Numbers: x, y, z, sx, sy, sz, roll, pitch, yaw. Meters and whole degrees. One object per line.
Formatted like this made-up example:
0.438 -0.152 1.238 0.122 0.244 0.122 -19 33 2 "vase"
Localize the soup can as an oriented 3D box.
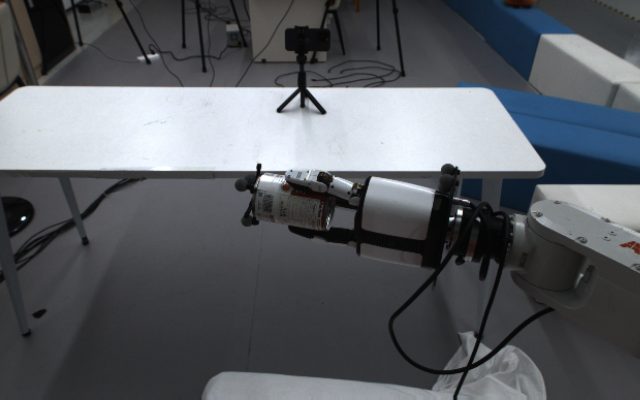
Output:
-0.031 0.003 0.657 0.101 0.067 0.067 9 35 9 "soup can"
